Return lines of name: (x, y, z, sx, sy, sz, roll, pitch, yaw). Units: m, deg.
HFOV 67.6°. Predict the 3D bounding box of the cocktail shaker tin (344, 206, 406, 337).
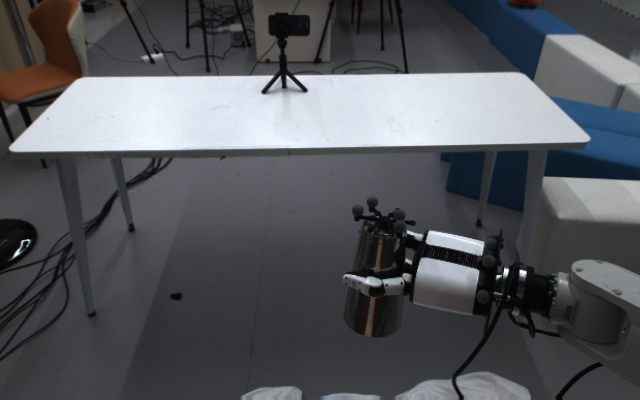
cocktail shaker tin: (0.089, 0.111, 0.737, 0.093, 0.170, 0.093, 3, 26, -1)
